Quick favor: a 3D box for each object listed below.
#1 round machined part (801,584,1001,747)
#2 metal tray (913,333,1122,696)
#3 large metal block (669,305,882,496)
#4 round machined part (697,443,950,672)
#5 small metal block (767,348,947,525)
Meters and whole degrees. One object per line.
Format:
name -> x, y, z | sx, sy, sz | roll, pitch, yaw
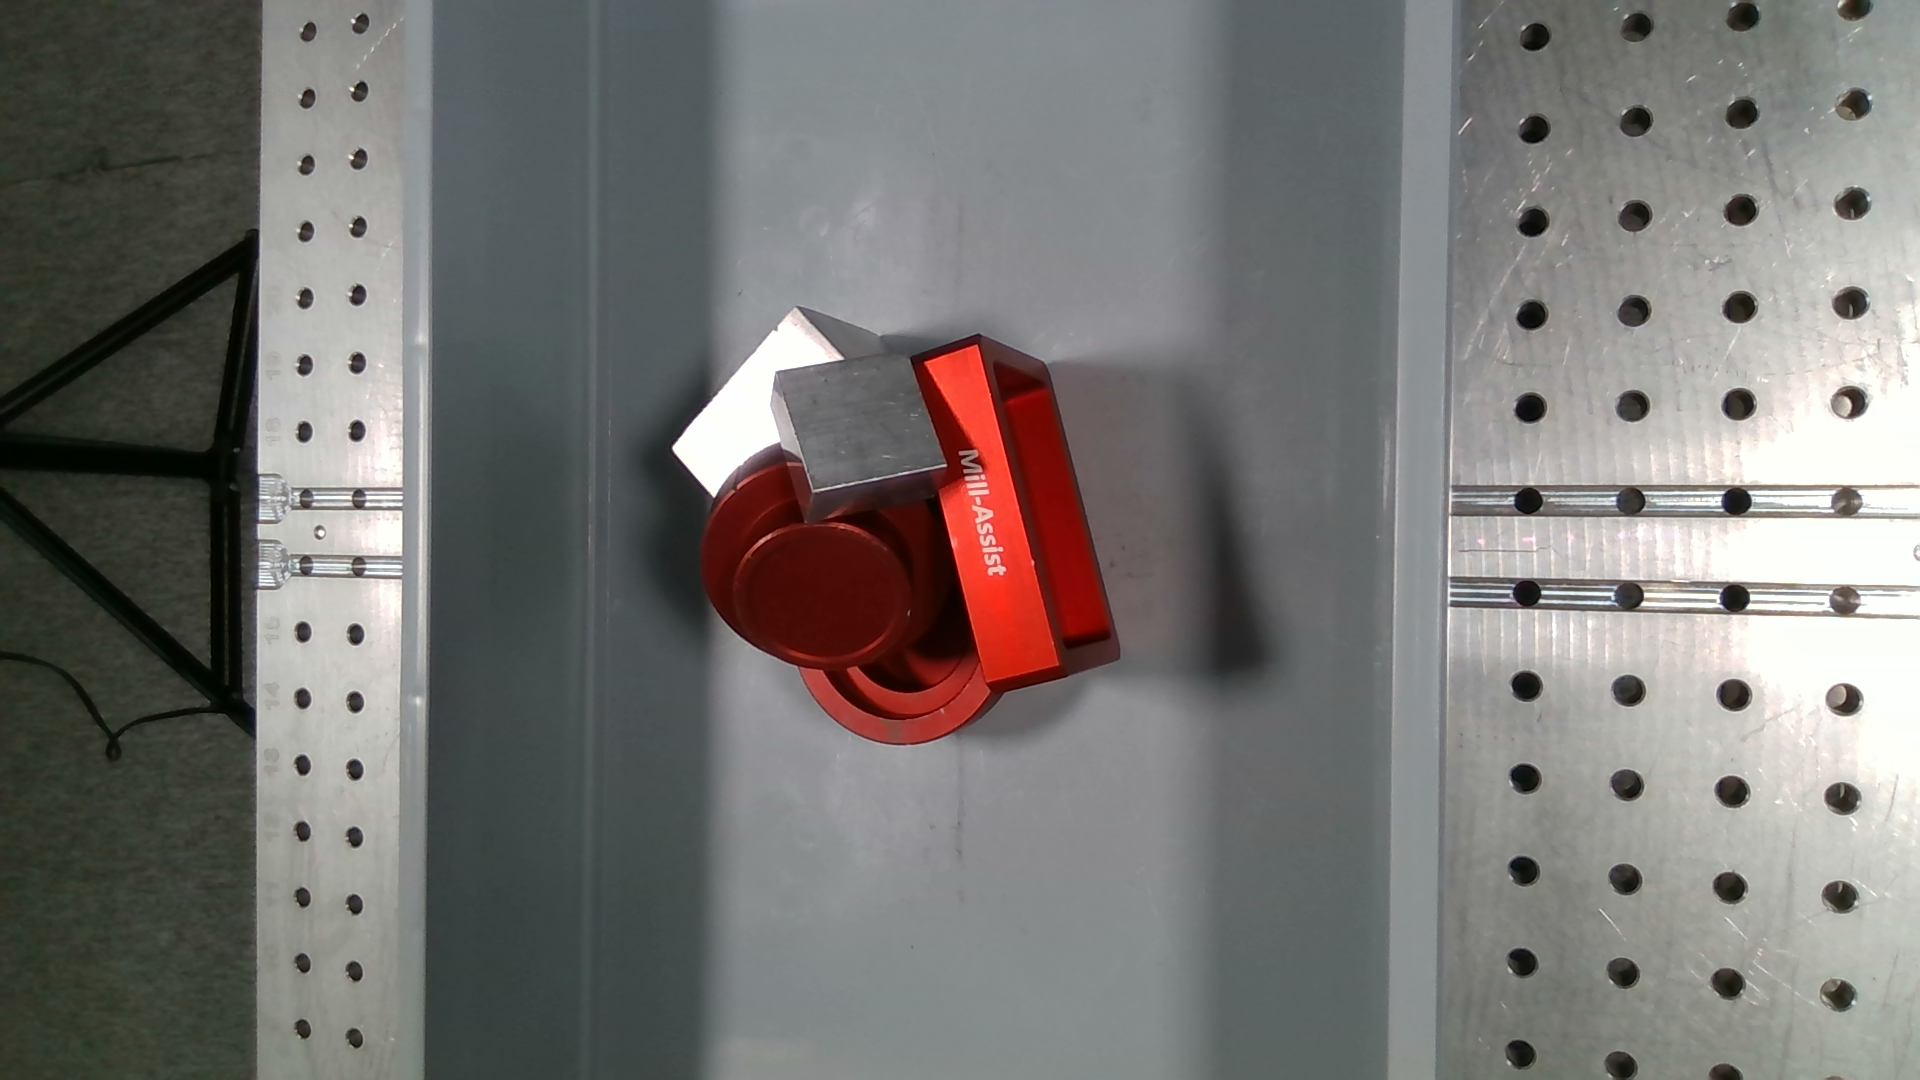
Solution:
round machined part -> -0.019, 0.036, 0.584 | 0.098, 0.042, 0.098 | 0, 91, 20
metal tray -> 0.023, -0.010, 0.540 | 0.030, 0.090, 0.130 | -16, 85, 20
large metal block -> -0.060, -0.046, 0.577 | 0.080, 0.080, 0.050 | -46, 76, 15
round machined part -> -0.053, 0.012, 0.533 | 0.098, 0.042, 0.098 | -1, 123, -1
small metal block -> -0.038, -0.038, 0.500 | 0.050, 0.025, 0.050 | -13, 69, -18
